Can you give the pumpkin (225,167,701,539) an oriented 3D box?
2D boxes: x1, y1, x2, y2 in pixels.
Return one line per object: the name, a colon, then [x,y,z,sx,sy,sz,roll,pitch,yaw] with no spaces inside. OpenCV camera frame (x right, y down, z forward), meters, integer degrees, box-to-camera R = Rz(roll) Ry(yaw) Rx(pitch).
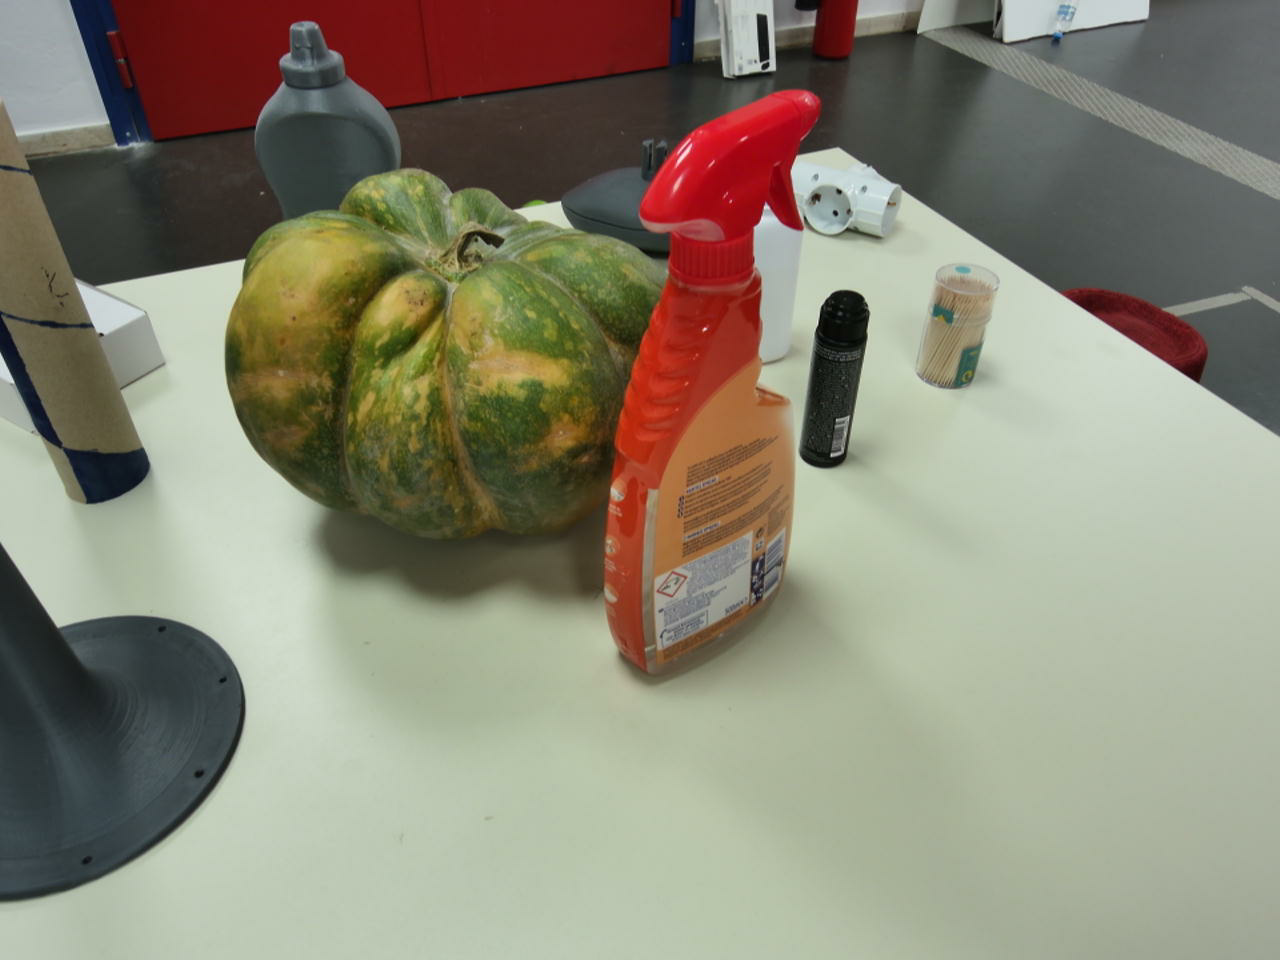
pumpkin: [-0.099,-0.076,0.562,0.270,0.173,0.237,8,40,9]
